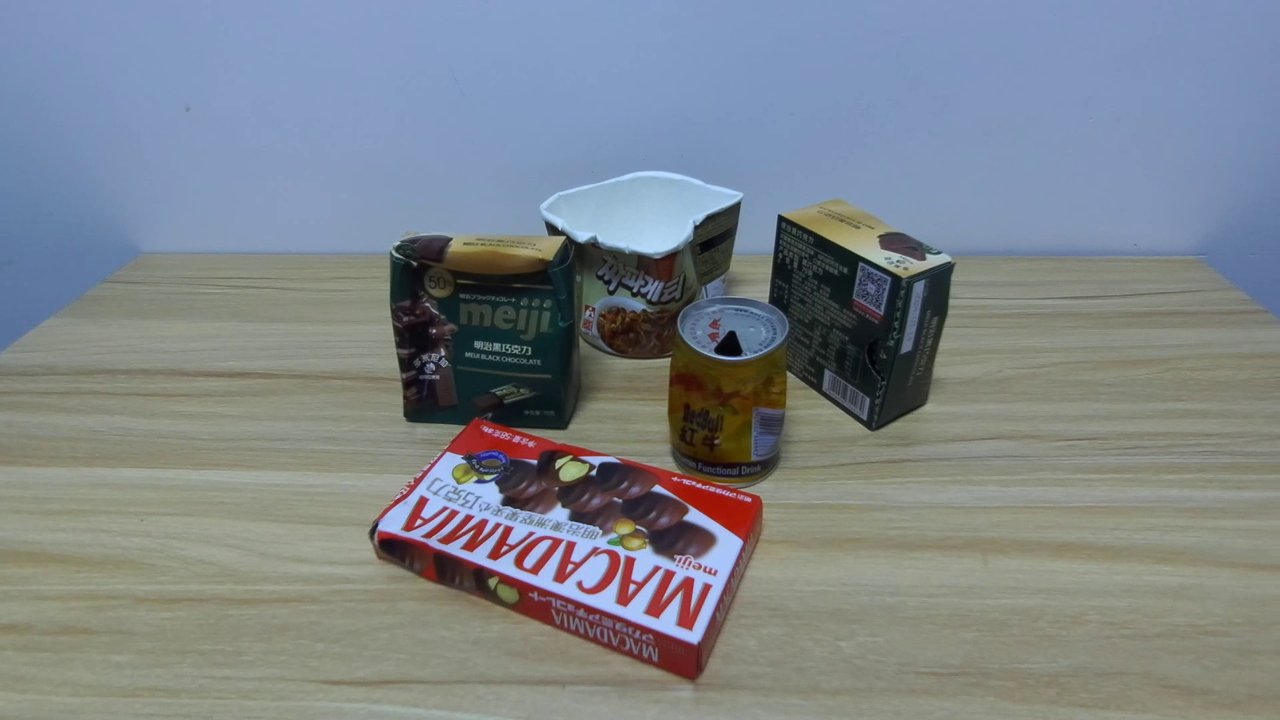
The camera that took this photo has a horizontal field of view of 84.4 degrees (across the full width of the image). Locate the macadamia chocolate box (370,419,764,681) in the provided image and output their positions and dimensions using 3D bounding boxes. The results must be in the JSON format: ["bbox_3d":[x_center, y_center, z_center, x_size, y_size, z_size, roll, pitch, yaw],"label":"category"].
[{"bbox_3d":[-0.037,0.085,0.365,0.182,0.028,0.106,13,37,21],"label":"macadamia chocolate box"}]

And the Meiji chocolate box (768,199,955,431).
[{"bbox_3d":[0.138,-0.032,0.452,0.058,0.111,0.112,-19,38,-25],"label":"Meiji chocolate box"}]

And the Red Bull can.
[{"bbox_3d":[0.049,0.017,0.397,0.072,0.092,0.072,0,36,0],"label":"Red Bull can"}]

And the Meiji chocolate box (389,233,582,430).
[{"bbox_3d":[-0.095,-0.020,0.446,0.117,0.117,0.051,2,26,6],"label":"Meiji chocolate box"}]

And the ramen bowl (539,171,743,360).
[{"bbox_3d":[-0.004,-0.073,0.524,0.133,0.098,0.114,16,41,21],"label":"ramen bowl"}]
